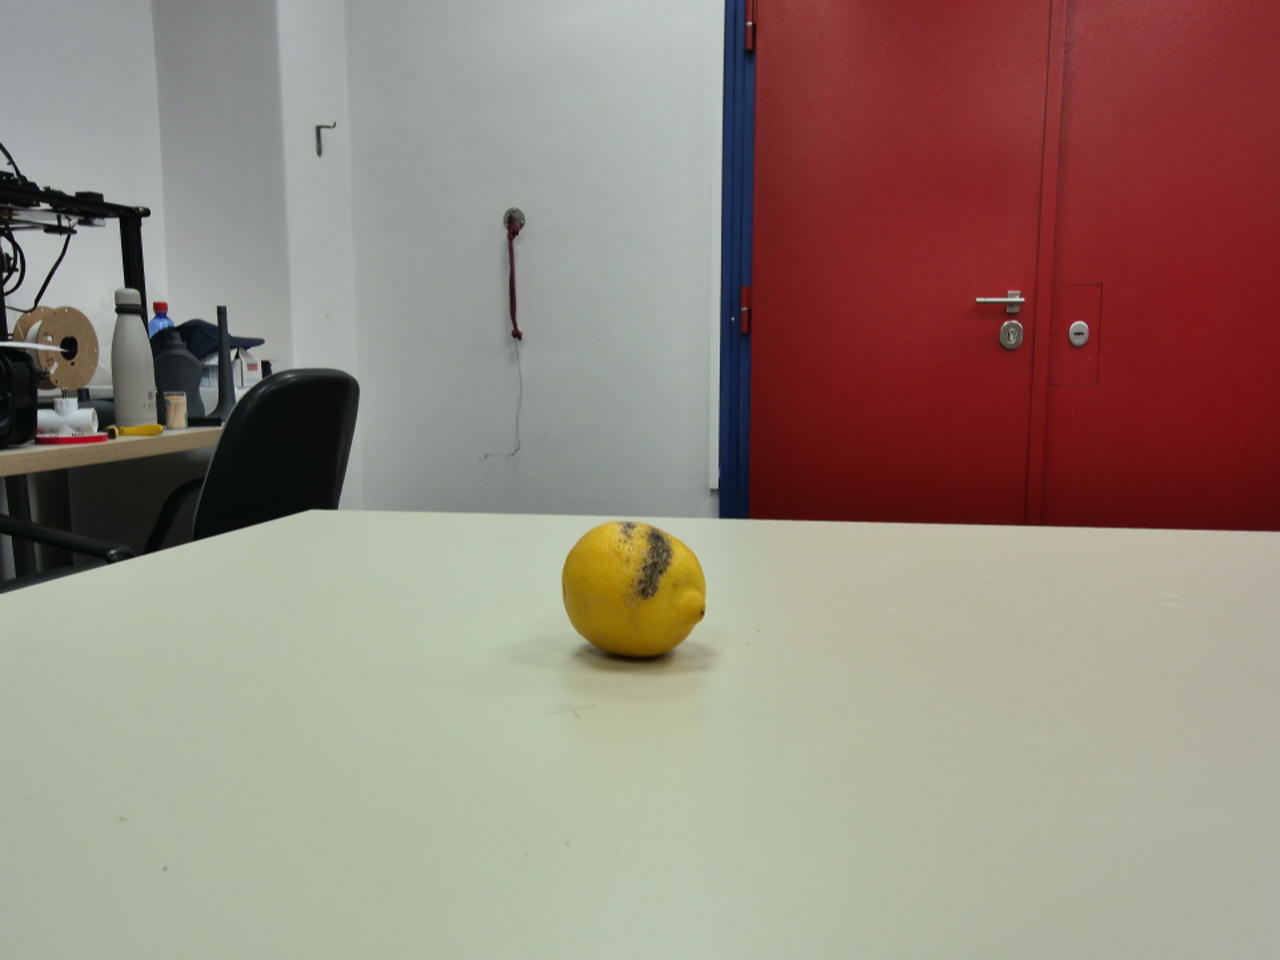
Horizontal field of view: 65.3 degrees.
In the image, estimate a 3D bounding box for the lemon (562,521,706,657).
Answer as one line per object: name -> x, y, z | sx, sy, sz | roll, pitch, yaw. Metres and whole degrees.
lemon -> -0.002, 0.046, 0.426 | 0.061, 0.056, 0.058 | 1, 4, 4
